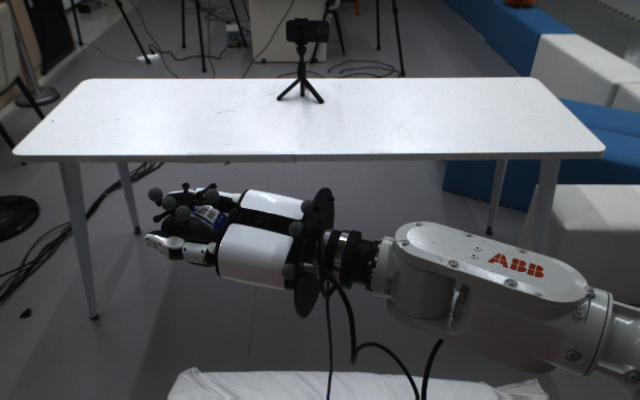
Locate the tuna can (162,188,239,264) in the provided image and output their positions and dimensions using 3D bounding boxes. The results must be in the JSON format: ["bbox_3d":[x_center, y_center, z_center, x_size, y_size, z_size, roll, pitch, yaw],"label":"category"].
[{"bbox_3d":[-0.153,0.043,0.615,0.085,0.085,0.034,11,38,12],"label":"tuna can"}]
